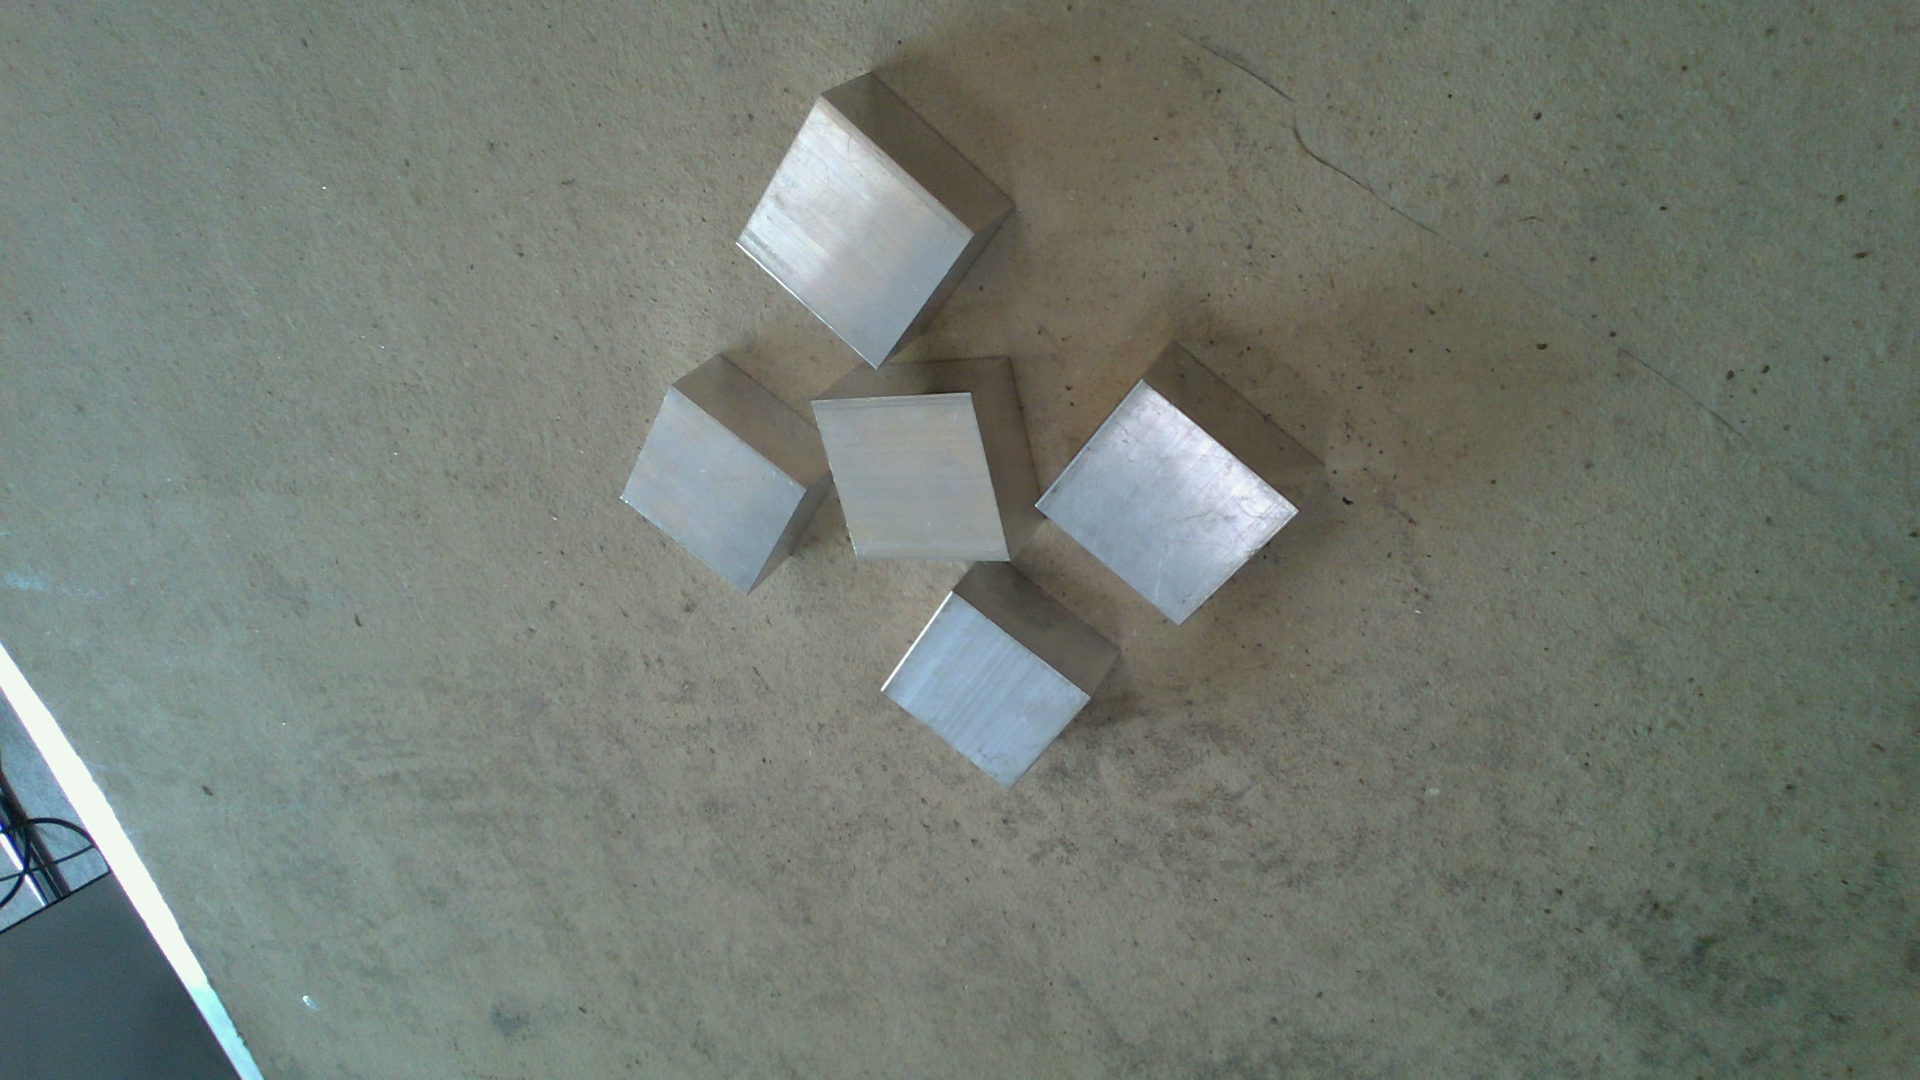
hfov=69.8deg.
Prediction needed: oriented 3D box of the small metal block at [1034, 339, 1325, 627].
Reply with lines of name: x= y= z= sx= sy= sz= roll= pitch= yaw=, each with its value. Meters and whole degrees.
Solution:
small metal block: x=0.056 y=-0.014 z=0.355 sx=0.050 sy=0.025 sz=0.050 roll=40 pitch=130 yaw=1

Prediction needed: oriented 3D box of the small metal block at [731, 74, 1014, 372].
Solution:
small metal block: x=-0.023 y=-0.081 z=0.355 sx=0.050 sy=0.025 sz=0.050 roll=42 pitch=129 yaw=0

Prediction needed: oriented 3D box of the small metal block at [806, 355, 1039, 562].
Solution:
small metal block: x=-0.009 y=-0.022 z=0.384 sx=0.050 sy=0.025 sz=0.050 roll=1 pitch=119 yaw=29

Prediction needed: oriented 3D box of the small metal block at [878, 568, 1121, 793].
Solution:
small metal block: x=0.011 y=0.040 z=0.412 sx=0.050 sy=0.025 sz=0.050 roll=37 pitch=128 yaw=3

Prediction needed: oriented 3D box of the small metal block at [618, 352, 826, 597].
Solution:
small metal block: x=-0.070 y=-0.020 z=0.419 sx=0.050 sy=0.025 sz=0.050 roll=37 pitch=128 yaw=3
